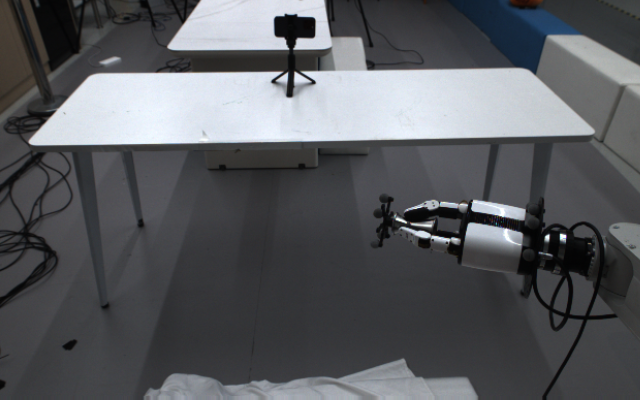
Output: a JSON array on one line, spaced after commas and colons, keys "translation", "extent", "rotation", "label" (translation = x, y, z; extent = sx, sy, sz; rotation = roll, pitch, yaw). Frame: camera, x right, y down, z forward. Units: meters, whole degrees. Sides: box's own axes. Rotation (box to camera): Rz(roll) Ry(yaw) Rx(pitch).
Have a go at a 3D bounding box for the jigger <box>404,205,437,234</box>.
[{"translation": [0.165, 0.042, 0.811], "extent": [0.071, 0.043, 0.043], "rotation": [10, 35, 22], "label": "jigger"}]
